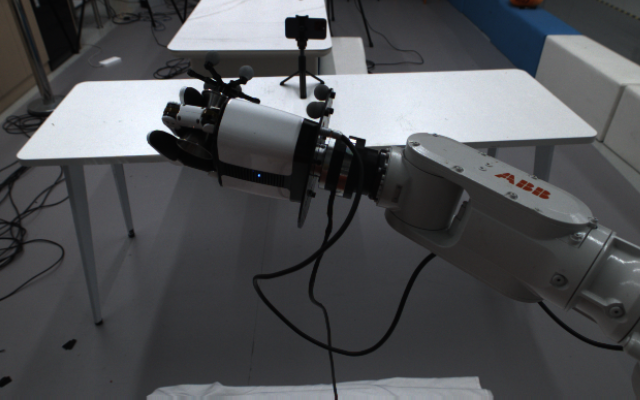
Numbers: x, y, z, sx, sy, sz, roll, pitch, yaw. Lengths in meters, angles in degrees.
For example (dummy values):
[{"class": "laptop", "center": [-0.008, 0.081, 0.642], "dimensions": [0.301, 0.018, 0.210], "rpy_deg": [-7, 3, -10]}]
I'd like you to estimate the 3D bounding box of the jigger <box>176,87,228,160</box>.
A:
[{"class": "jigger", "center": [-0.127, -0.087, 0.547], "dimensions": [0.043, 0.043, 0.071], "rpy_deg": [15, 70, 18]}]
